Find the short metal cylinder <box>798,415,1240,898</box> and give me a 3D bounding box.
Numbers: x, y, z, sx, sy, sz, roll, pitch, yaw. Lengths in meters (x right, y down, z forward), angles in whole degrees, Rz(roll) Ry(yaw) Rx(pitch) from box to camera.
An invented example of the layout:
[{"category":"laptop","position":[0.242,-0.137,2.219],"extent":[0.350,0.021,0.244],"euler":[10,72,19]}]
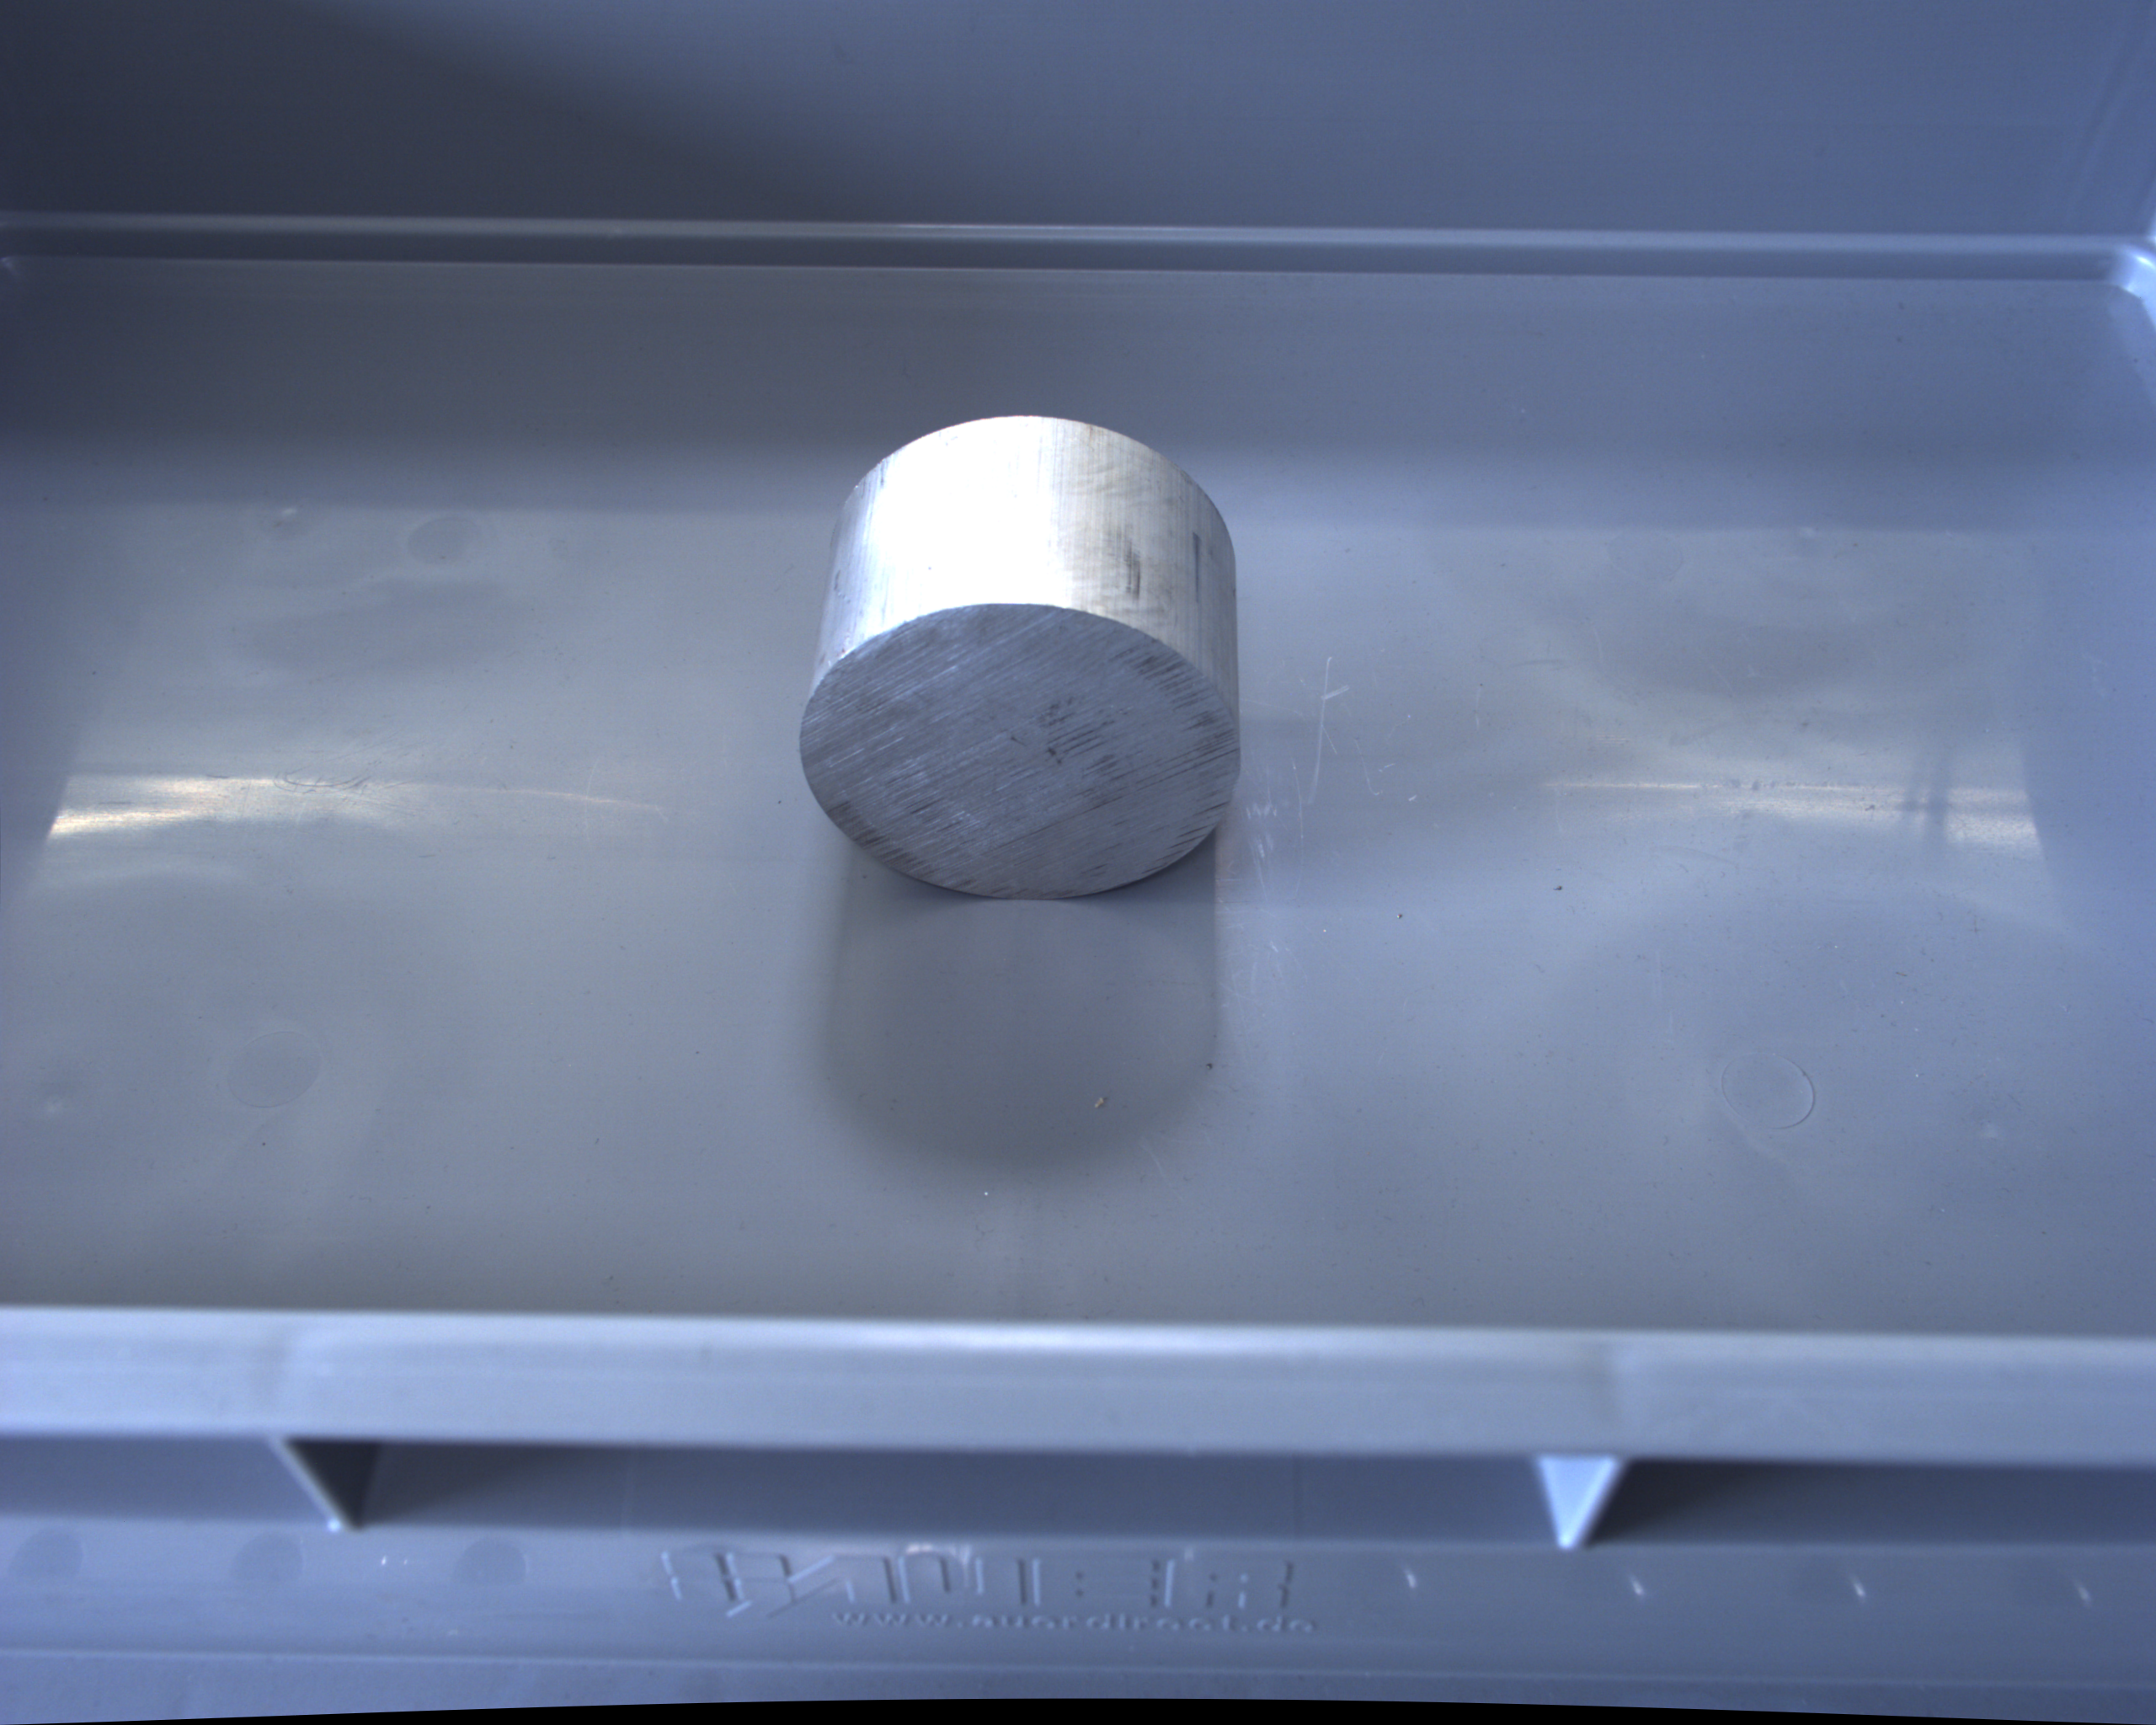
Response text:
[{"category":"short metal cylinder","position":[-0.010,-0.038,0.397],"extent":[0.080,0.080,0.050],"euler":[1,50,1]}]
